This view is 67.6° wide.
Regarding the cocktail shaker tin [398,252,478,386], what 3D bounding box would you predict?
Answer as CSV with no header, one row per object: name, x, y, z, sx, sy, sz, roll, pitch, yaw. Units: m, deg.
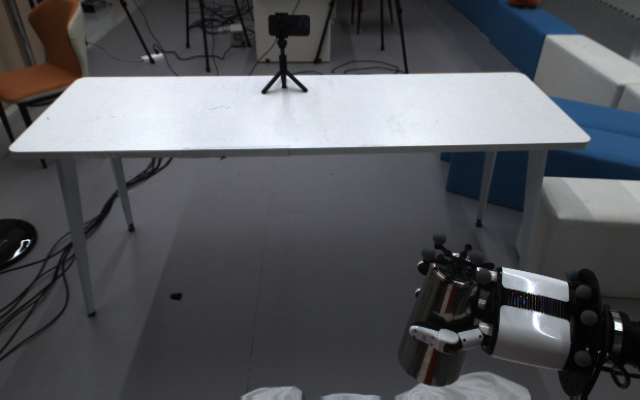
cocktail shaker tin,0.165,0.155,0.649,0.093,0.170,0.093,4,32,-2
